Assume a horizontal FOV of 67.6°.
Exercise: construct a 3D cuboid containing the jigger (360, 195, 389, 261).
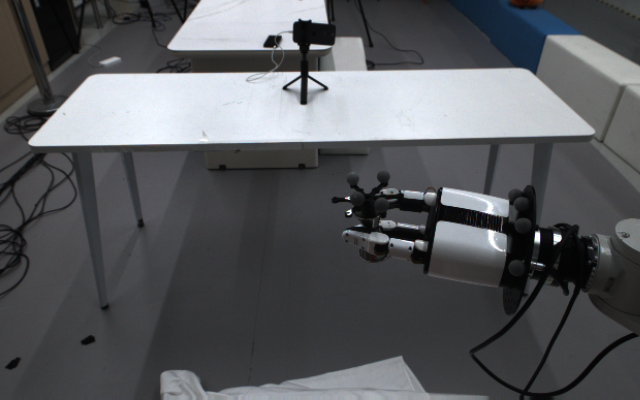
[{"bbox_3d":[0.069,0.038,0.630,0.043,0.071,0.043,-9,31,5],"label":"jigger"}]
